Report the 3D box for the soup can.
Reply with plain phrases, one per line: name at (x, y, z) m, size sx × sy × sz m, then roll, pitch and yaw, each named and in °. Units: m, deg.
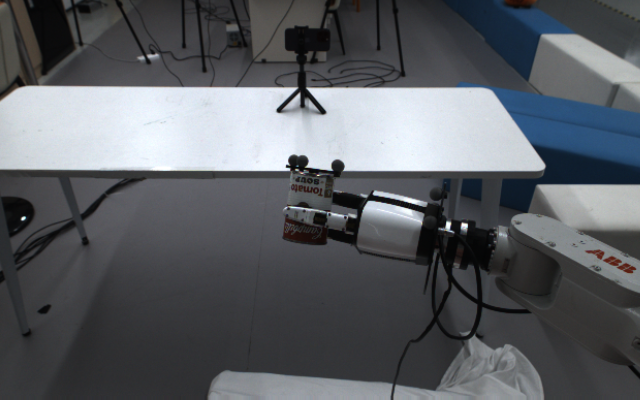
soup can at (-0.015, 0.010, 0.716) m, size 0.067 × 0.101 × 0.067 m, roll 7°, pitch 4°, yaw 0°
